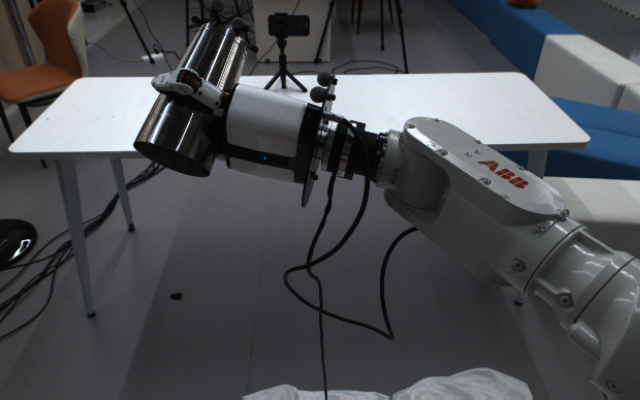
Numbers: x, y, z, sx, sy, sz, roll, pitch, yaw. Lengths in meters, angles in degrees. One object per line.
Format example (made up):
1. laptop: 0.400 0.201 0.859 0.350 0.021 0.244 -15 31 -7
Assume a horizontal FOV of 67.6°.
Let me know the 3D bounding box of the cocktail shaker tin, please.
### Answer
1. cocktail shaker tin: -0.148 -0.123 0.584 0.093 0.093 0.170 14 74 17
